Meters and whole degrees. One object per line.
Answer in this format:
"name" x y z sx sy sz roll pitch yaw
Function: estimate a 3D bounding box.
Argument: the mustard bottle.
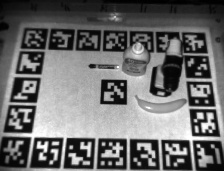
"mustard bottle" 0.083 -0.086 0.797 0.096 0.192 0.058 11 72 3

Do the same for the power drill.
"power drill" 0.187 -0.030 0.763 0.057 0.187 0.184 13 70 3

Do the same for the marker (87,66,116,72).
"marker" -0.043 -0.069 0.880 0.121 0.020 0.019 2 73 0

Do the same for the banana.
"banana" 0.178 0.084 0.828 0.197 0.039 0.074 7 74 3
